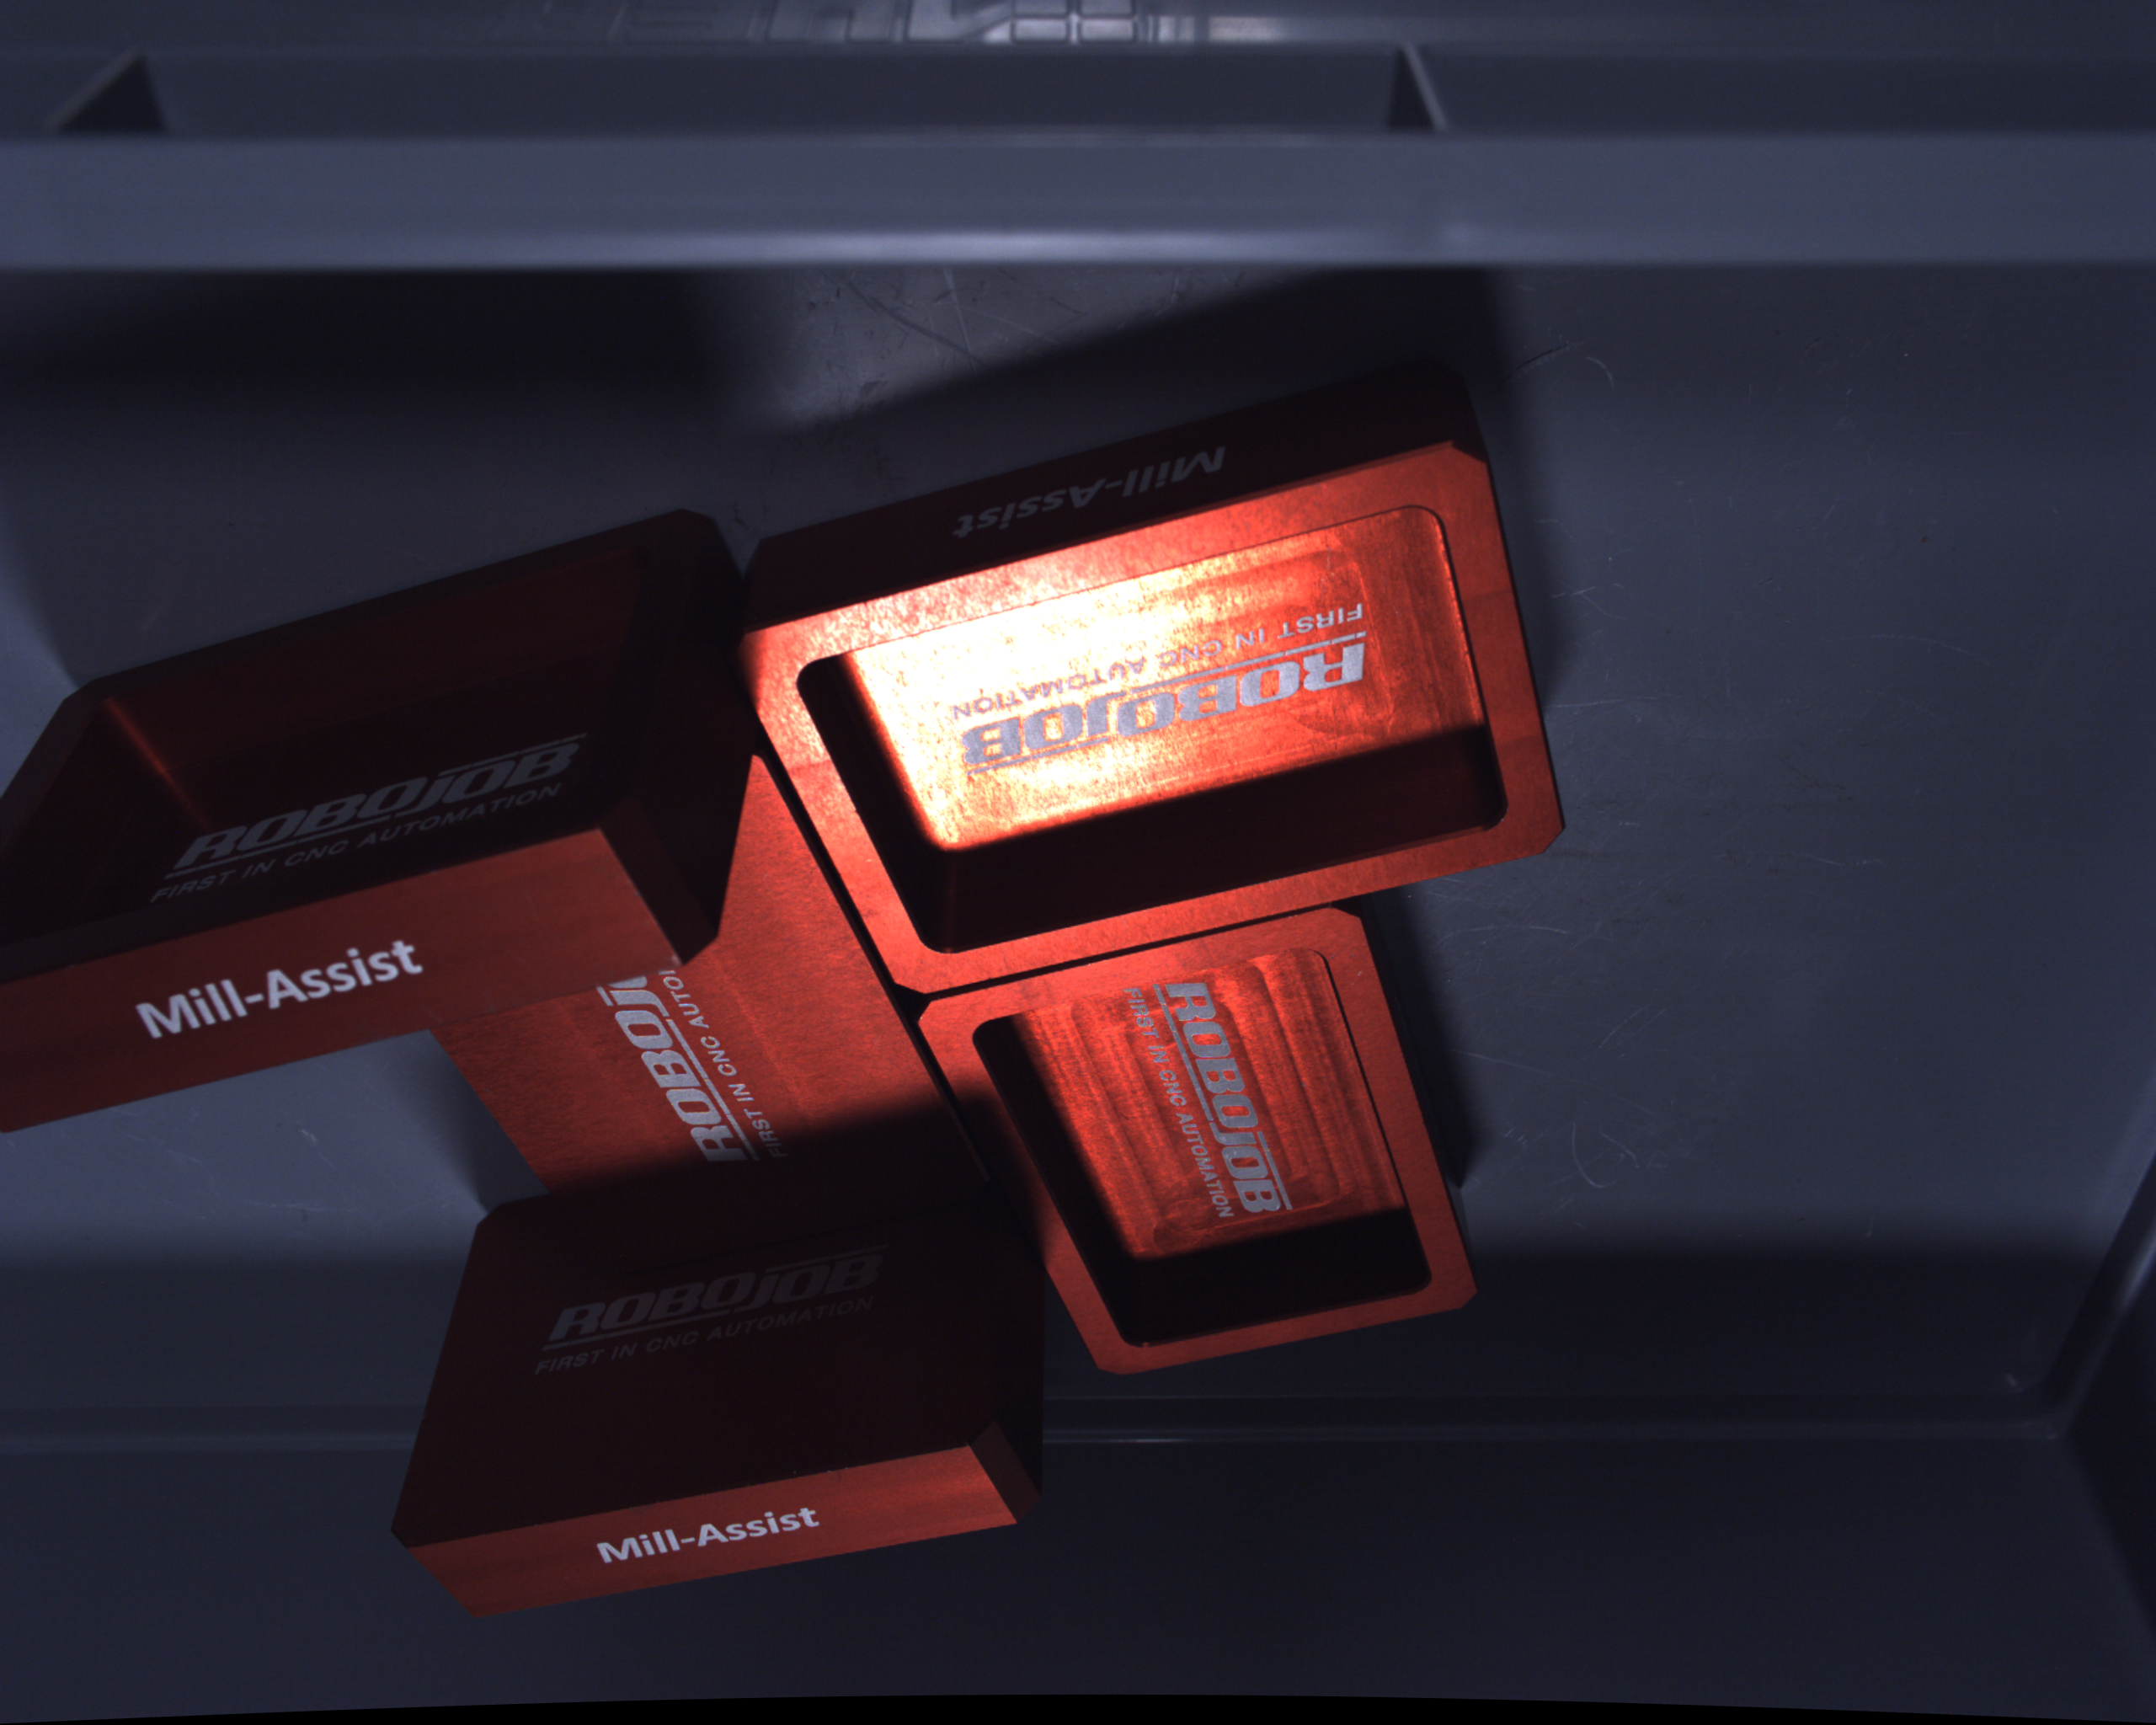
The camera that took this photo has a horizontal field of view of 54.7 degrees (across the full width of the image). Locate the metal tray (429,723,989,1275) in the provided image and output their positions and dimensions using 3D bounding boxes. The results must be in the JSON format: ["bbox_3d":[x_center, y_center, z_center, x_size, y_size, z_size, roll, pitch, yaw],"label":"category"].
[{"bbox_3d":[-0.080,0.026,0.423,0.090,0.030,0.129,-14,129,11],"label":"metal tray"}]

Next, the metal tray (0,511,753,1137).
[{"bbox_3d":[-0.123,-0.008,0.353,0.130,0.090,0.030,-14,129,11],"label":"metal tray"}]

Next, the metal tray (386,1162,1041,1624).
[{"bbox_3d":[-0.075,0.107,0.453,0.131,0.090,0.030,-13,129,10],"label":"metal tray"}]

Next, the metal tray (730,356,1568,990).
[{"bbox_3d":[0.015,-0.030,0.378,0.131,0.030,0.090,-13,129,10],"label":"metal tray"}]

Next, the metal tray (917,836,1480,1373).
[{"bbox_3d":[0.029,0.054,0.450,0.090,0.030,0.129,-14,129,11],"label":"metal tray"}]
